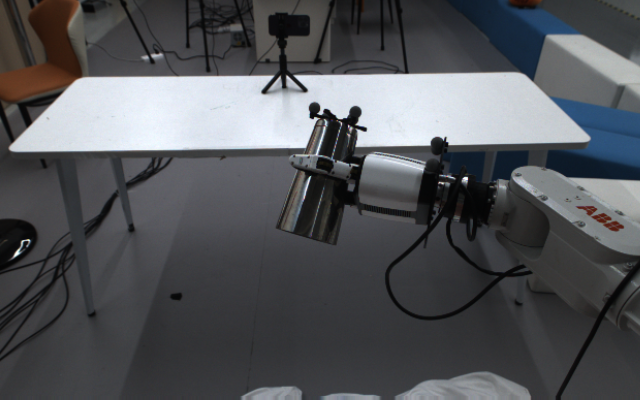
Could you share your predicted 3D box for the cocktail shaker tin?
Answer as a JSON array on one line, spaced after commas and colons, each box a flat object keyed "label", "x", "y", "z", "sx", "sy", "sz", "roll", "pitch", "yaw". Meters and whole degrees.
[{"label": "cocktail shaker tin", "x": 0.000, "y": -0.029, "z": 0.710, "sx": 0.093, "sy": 0.170, "sz": 0.093, "roll": 16, "pitch": -7, "yaw": 2}]
